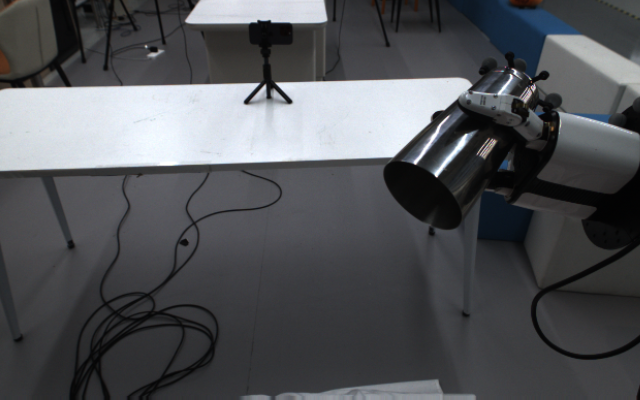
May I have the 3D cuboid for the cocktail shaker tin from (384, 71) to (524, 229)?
[{"bbox_3d":[0.155,-0.064,0.503,0.093,0.093,0.170,32,67,35],"label":"cocktail shaker tin"}]
